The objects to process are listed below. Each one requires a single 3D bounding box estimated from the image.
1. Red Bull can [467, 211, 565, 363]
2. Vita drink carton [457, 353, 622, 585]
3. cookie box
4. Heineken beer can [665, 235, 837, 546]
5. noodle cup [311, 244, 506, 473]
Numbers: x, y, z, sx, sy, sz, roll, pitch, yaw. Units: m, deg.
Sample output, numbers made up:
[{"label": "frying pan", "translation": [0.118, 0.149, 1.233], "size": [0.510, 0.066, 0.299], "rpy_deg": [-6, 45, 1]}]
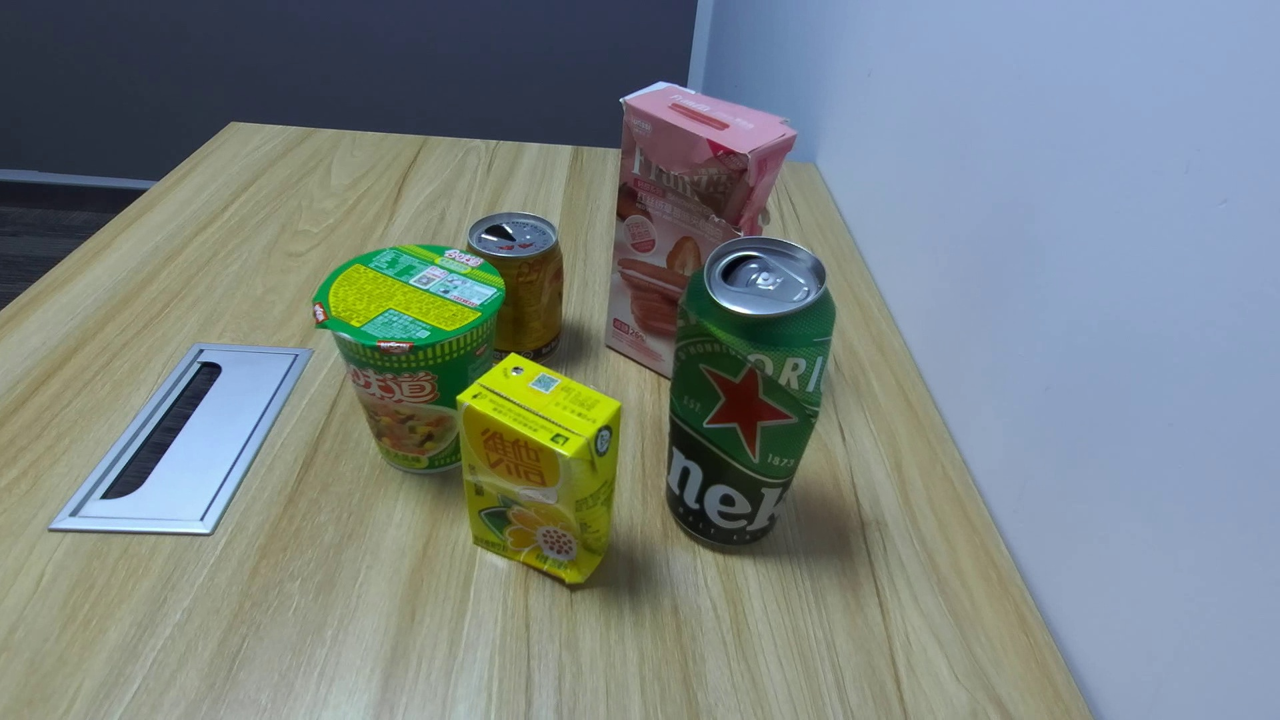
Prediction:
[{"label": "Red Bull can", "translation": [-0.087, -0.048, 0.498], "size": [0.068, 0.093, 0.068], "rpy_deg": [4, 37, -3]}, {"label": "Vita drink carton", "translation": [-0.046, 0.061, 0.353], "size": [0.076, 0.109, 0.043], "rpy_deg": [23, 42, 21]}, {"label": "cookie box", "translation": [0.032, -0.071, 0.462], "size": [0.104, 0.186, 0.059], "rpy_deg": [31, 46, 28]}, {"label": "Heineken beer can", "translation": [0.052, 0.025, 0.363], "size": [0.069, 0.168, 0.068], "rpy_deg": [1, 39, -2]}, {"label": "noodle cup", "translation": [-0.125, 0.005, 0.409], "size": [0.097, 0.110, 0.097], "rpy_deg": [4, 40, -3]}]
